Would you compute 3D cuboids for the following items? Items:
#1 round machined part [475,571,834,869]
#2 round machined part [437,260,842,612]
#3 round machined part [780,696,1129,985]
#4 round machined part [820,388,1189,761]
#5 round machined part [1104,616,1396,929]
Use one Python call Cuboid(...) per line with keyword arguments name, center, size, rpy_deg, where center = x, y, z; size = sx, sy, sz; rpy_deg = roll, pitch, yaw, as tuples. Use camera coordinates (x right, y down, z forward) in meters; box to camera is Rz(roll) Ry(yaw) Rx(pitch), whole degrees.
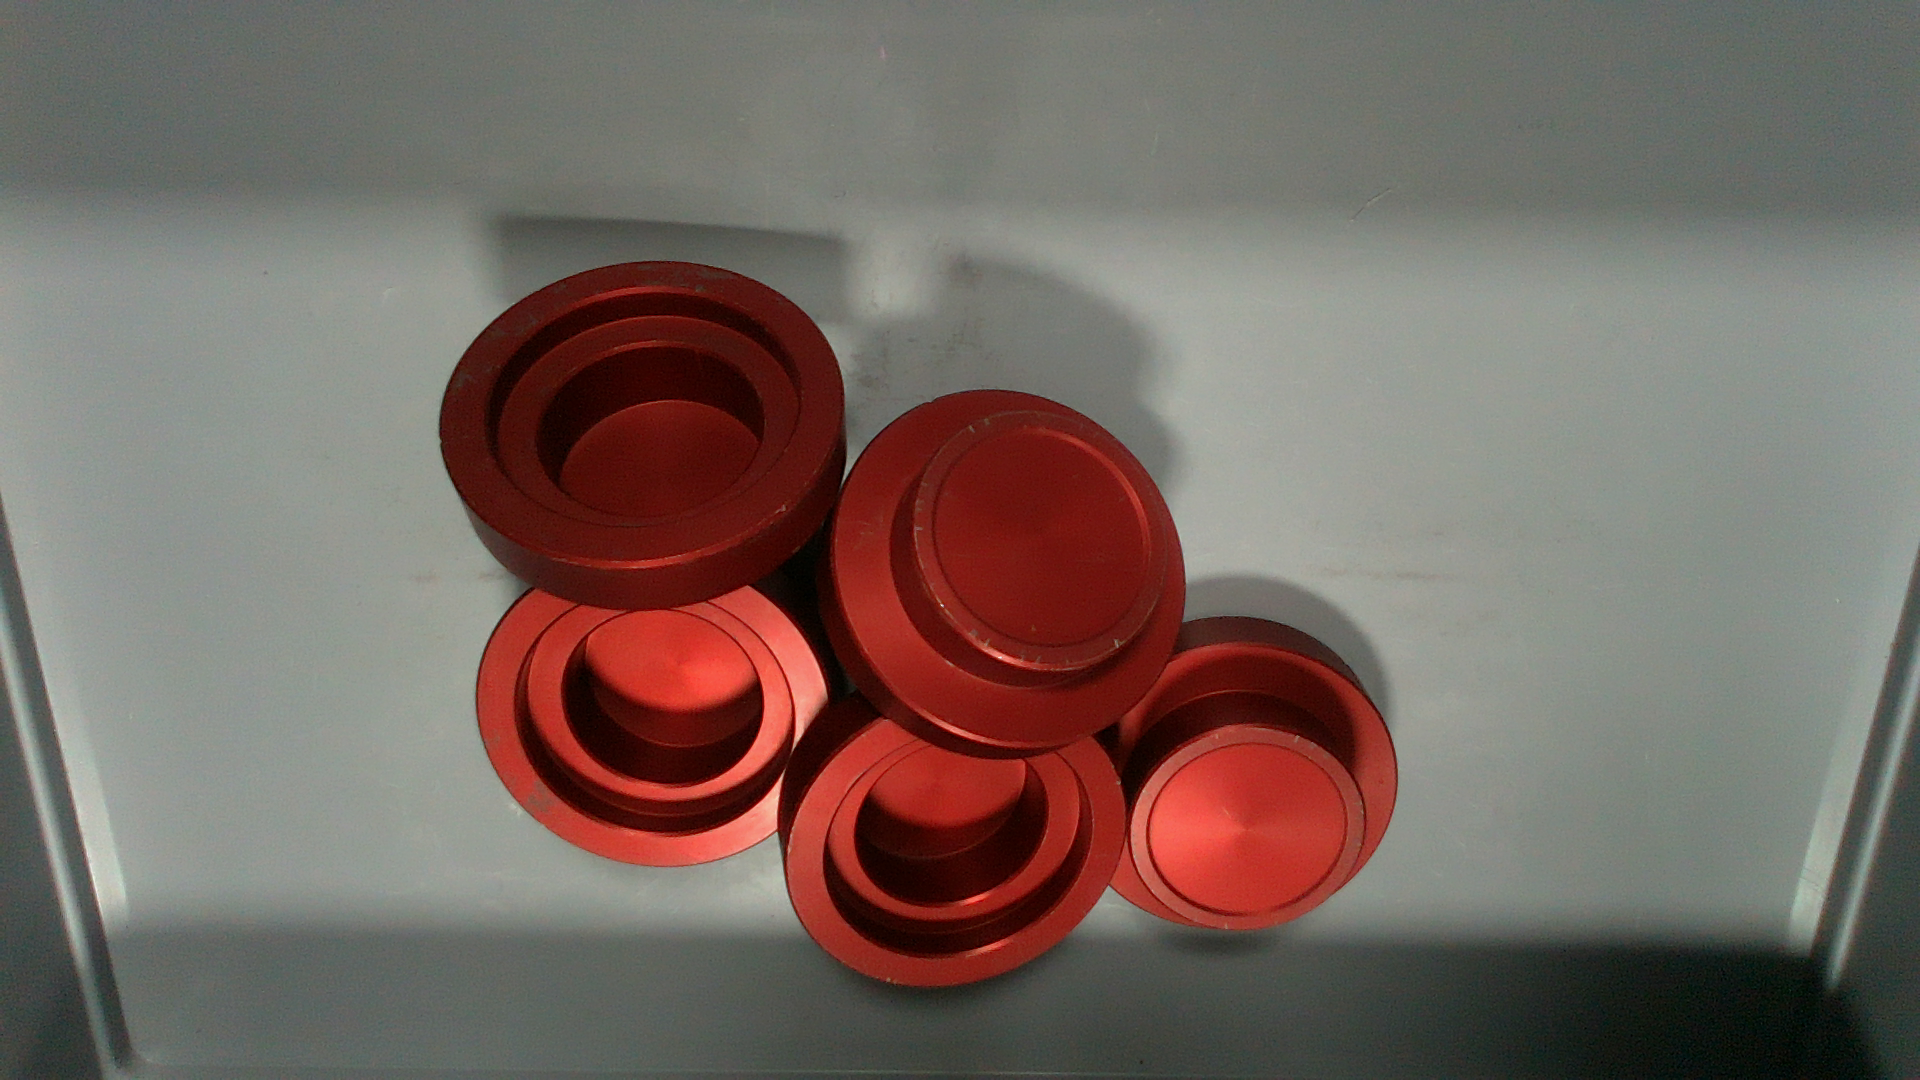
Cuboid(name="round machined part", center=(-0.084, 0.042, 0.398), size=(0.098, 0.042, 0.098), rpy_deg=(0, 110, 0))
Cuboid(name="round machined part", center=(-0.079, -0.023, 0.356), size=(0.098, 0.098, 0.042), rpy_deg=(2, 146, -1))
Cuboid(name="round machined part", center=(-0.004, 0.077, 0.400), size=(0.098, 0.042, 0.098), rpy_deg=(-6, 117, -12))
Cuboid(name="round machined part", center=(0.015, 0.005, 0.356), size=(0.098, 0.042, 0.098), rpy_deg=(6, 70, -16))
Cuboid(name="round machined part", center=(0.082, 0.076, 0.411), size=(0.098, 0.042, 0.098), rpy_deg=(0, 110, 0))
